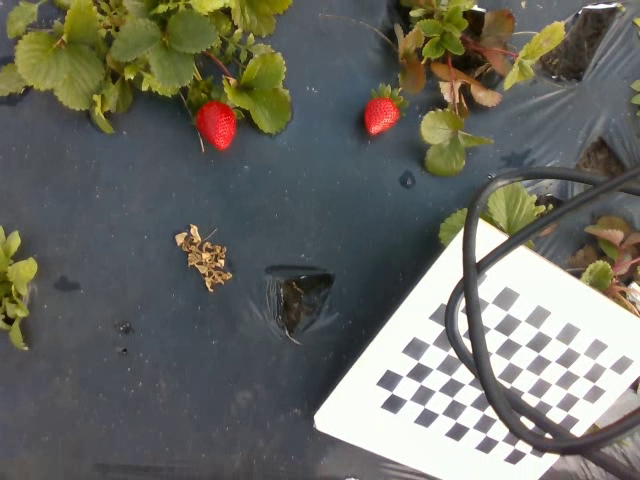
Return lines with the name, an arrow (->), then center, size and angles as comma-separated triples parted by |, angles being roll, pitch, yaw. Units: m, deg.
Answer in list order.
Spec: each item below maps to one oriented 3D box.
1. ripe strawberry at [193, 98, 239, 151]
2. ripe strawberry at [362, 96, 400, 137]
ripe strawberry -> -0.095, -0.099, 0.570 | 0.050, 0.050, 0.046 | 27, -52, -32
ripe strawberry -> 0.057, -0.116, 0.609 | 0.041, 0.052, 0.045 | 0, -39, 38
